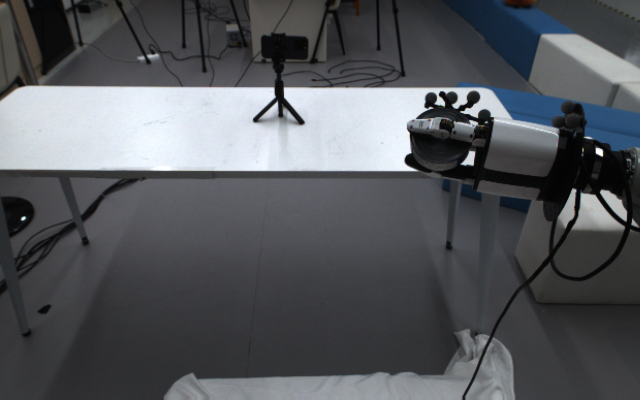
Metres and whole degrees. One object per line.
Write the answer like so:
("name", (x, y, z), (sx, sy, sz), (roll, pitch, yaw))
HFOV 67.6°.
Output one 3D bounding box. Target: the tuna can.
("tuna can", (0.171, -0.086, 0.683), (0.085, 0.034, 0.085), (-4, 67, 10))
